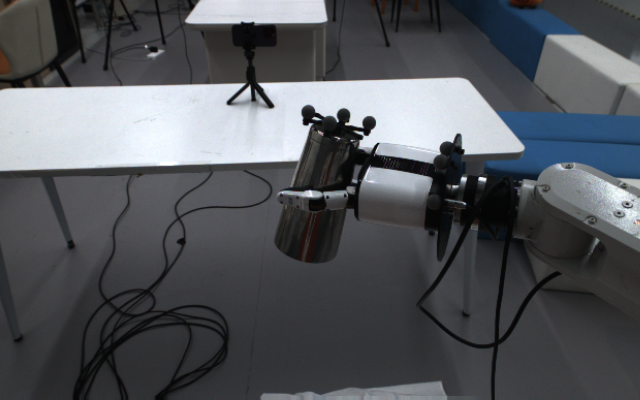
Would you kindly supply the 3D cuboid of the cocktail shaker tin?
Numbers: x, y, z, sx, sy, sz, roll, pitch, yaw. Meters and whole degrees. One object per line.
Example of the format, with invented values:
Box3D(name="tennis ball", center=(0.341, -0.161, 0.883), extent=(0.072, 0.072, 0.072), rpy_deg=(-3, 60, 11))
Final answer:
Box3D(name="cocktail shaker tin", center=(0.002, -0.014, 0.648), extent=(0.093, 0.170, 0.093), rpy_deg=(12, 24, -5))
